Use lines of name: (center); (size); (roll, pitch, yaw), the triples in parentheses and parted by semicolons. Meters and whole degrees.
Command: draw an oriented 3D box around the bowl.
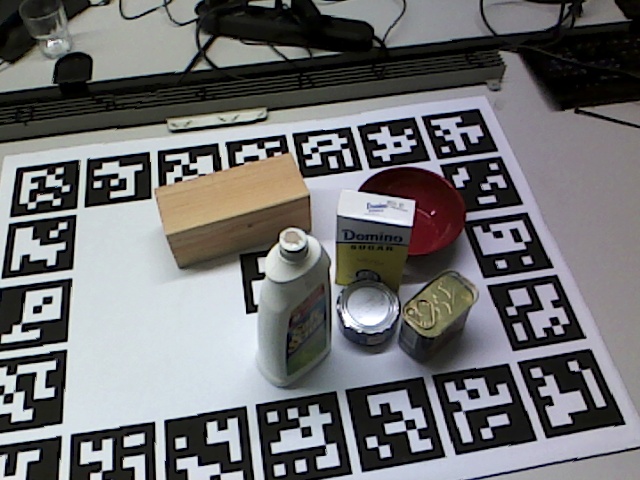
bowl: (0.134, -0.034, 0.914); (0.162, 0.055, 0.162); (-3, 54, 4)

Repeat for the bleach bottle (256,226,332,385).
bleach bottle: (-0.036, 0.075, 0.721); (0.102, 0.250, 0.068); (-31, 58, -19)

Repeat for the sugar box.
sugar box: (0.070, 0.007, 0.809); (0.093, 0.176, 0.045); (7, 57, 10)

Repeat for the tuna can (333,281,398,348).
tuna can: (0.060, 0.101, 0.828); (0.086, 0.033, 0.086); (-1, 57, 1)

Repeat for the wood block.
wood block: (-0.129, -0.039, 0.907); (0.206, 0.089, 0.091); (-16, 60, -11)

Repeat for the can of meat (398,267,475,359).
can of meat: (0.148, 0.097, 0.806); (0.101, 0.083, 0.058); (-35, 57, -23)
